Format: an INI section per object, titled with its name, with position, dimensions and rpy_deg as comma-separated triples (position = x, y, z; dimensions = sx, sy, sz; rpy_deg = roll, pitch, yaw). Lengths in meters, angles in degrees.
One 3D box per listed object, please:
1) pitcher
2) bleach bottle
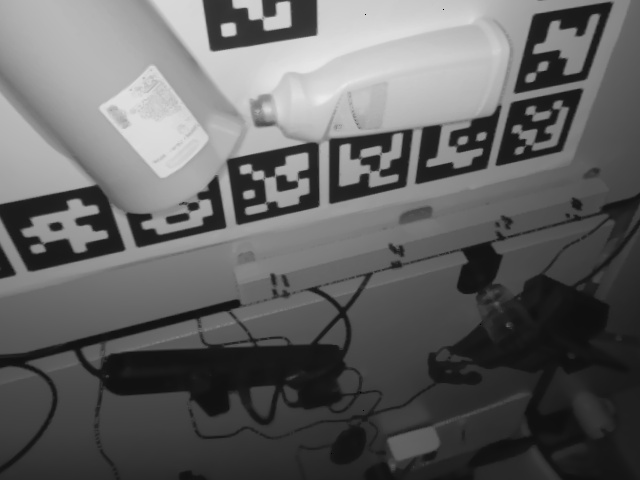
[pitcher]
position = -0.179, -0.148, 0.542
dimensions = 0.186, 0.135, 0.243
rpy_deg = -3, 142, 30
[bleach bottle]
position = 0.069, -0.143, 0.683
dimensions = 0.252, 0.068, 0.102
rpy_deg = -14, 133, -8
